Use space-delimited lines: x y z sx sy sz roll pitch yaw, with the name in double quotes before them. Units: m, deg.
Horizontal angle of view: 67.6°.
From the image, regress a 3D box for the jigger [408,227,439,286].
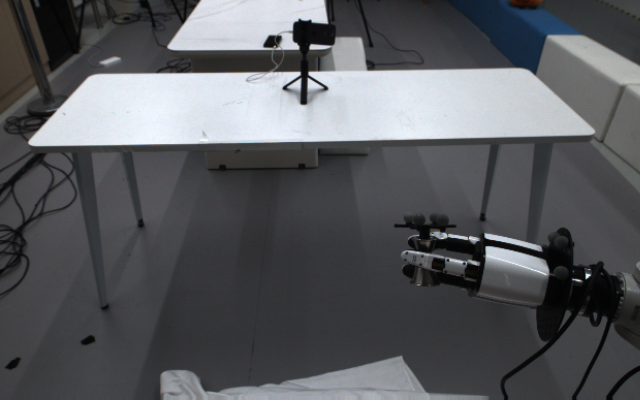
"jigger" 0.154 0.088 0.714 0.043 0.071 0.043 -1 2 0
